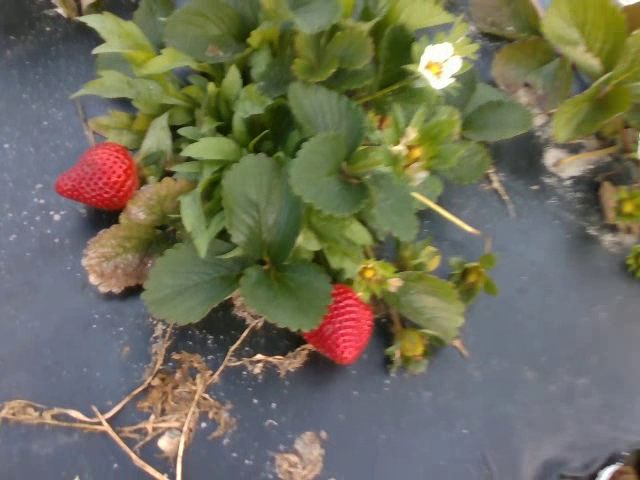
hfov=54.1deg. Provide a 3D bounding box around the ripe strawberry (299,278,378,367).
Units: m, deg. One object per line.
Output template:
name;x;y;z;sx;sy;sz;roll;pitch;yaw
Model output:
ripe strawberry;0.009;0.049;0.335;0.043;0.046;0.047;-18;-44;3

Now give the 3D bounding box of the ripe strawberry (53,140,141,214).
ripe strawberry;-0.129;-0.035;0.356;0.050;0.043;0.043;-25;-17;-25
